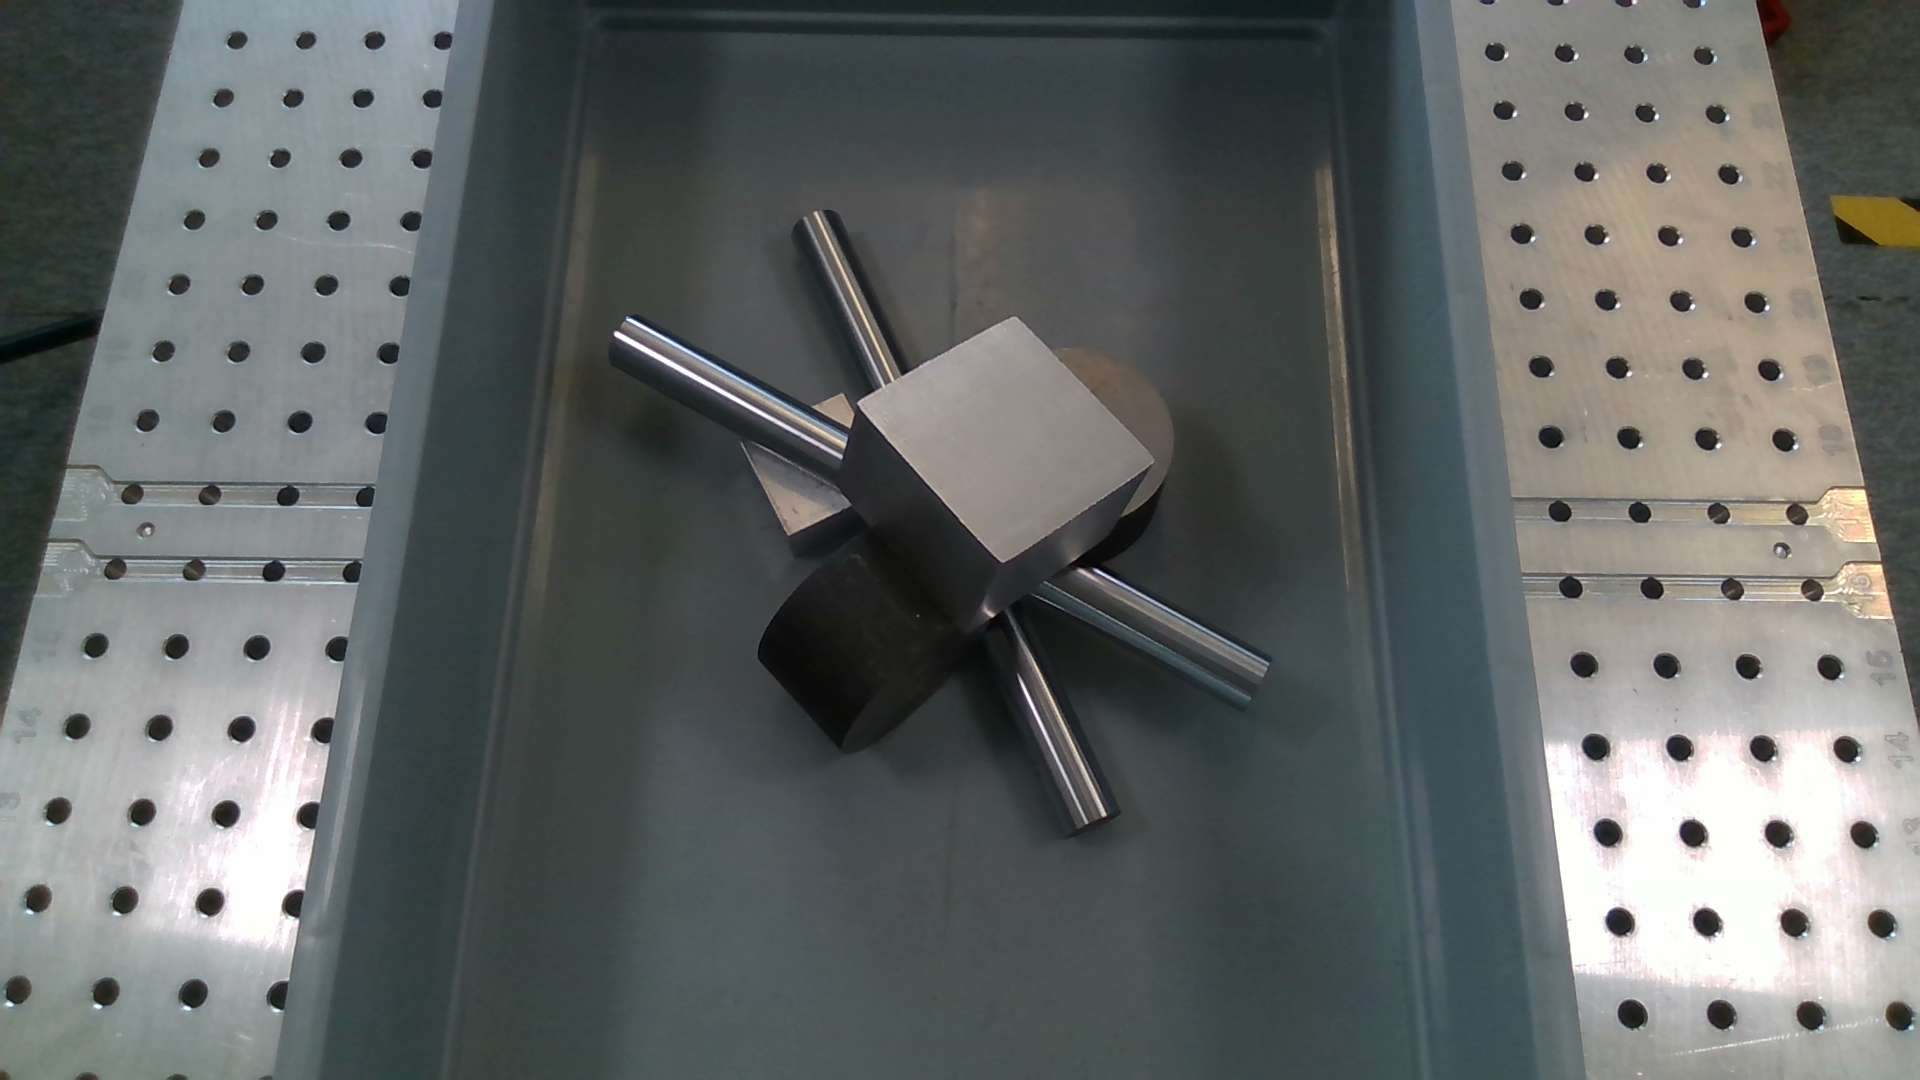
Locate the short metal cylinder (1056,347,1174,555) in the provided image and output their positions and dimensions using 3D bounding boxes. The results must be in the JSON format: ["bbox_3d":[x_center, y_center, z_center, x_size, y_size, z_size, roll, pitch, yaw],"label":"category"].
[{"bbox_3d":[0.048,-0.035,0.586,0.080,0.050,0.080,0,70,0],"label":"short metal cylinder"}]

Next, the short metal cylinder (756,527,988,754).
[{"bbox_3d":[-0.033,0.038,0.545,0.080,0.080,0.050,-41,74,-13],"label":"short metal cylinder"}]

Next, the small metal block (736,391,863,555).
[{"bbox_3d":[-0.062,-0.029,0.597,0.050,0.025,0.050,-27,72,-9],"label":"small metal block"}]

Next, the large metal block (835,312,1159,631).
[{"bbox_3d":[0.012,-0.027,0.516,0.080,0.050,0.080,-33,72,-29],"label":"large metal block"}]

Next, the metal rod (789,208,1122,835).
[{"bbox_3d":[-0.007,-0.017,0.593,0.025,0.025,0.299,-22,72,-8],"label":"metal rod"}]

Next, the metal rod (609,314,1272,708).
[{"bbox_3d":[-0.013,-0.015,0.566,0.300,0.025,0.025,29,73,9],"label":"metal rod"}]
